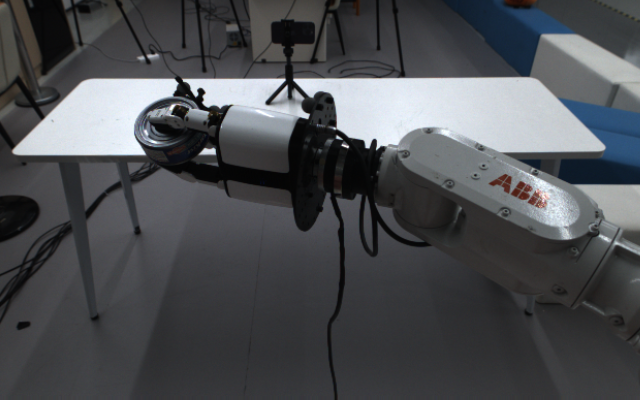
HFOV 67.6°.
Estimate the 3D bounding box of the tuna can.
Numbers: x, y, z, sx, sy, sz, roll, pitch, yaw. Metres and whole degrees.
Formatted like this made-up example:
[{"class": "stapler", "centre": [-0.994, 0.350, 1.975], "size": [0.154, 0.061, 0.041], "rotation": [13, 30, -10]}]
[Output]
[{"class": "tuna can", "centre": [-0.182, -0.087, 0.599], "size": [0.085, 0.034, 0.085], "rotation": [-4, 58, 6]}]
